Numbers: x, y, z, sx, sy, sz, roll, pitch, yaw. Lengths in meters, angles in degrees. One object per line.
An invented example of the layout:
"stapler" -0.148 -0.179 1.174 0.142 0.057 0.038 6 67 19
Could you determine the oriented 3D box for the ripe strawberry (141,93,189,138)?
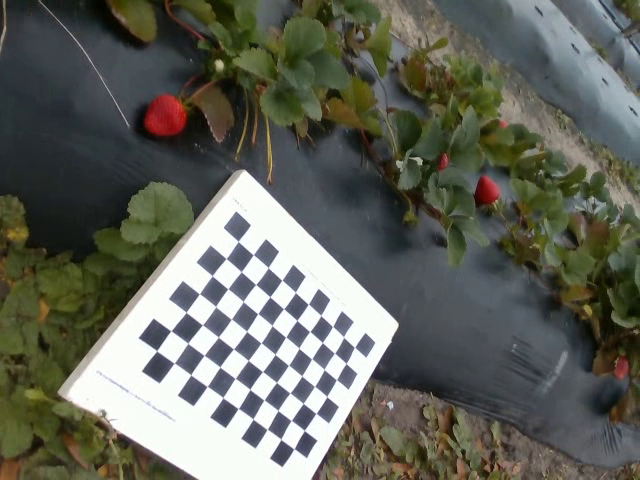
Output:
"ripe strawberry" -0.101 -0.080 0.356 0.032 0.029 0.022 -42 19 -29
